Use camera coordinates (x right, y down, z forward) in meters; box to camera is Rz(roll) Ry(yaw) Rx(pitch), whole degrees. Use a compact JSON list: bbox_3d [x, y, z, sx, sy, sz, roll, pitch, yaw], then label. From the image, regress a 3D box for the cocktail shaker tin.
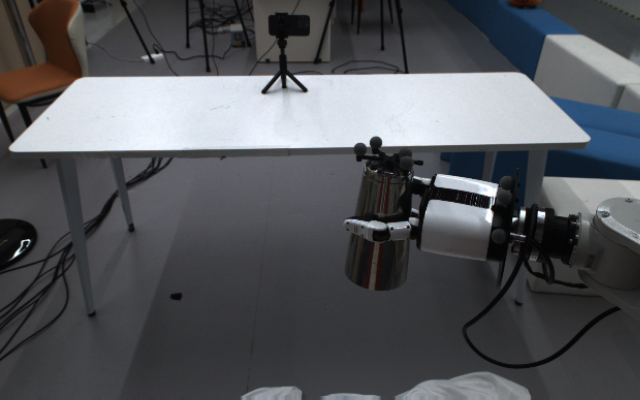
[{"bbox_3d":[0.088,0.030,0.679,0.093,0.170,0.093,3,26,-1],"label":"cocktail shaker tin"}]
